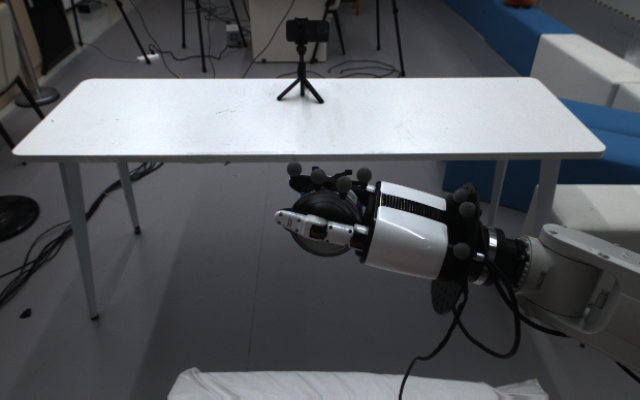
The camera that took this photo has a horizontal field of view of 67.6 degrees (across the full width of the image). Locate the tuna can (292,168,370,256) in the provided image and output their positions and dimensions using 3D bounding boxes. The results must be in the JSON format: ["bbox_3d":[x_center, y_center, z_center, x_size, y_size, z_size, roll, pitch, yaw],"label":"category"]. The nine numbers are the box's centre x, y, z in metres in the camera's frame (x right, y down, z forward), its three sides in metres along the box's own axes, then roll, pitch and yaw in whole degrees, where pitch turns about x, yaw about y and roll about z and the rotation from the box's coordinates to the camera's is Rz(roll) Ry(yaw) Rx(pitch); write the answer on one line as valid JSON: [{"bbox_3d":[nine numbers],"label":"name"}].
[{"bbox_3d":[0.011,0.027,0.568,0.085,0.085,0.034,6,22,6],"label":"tuna can"}]
